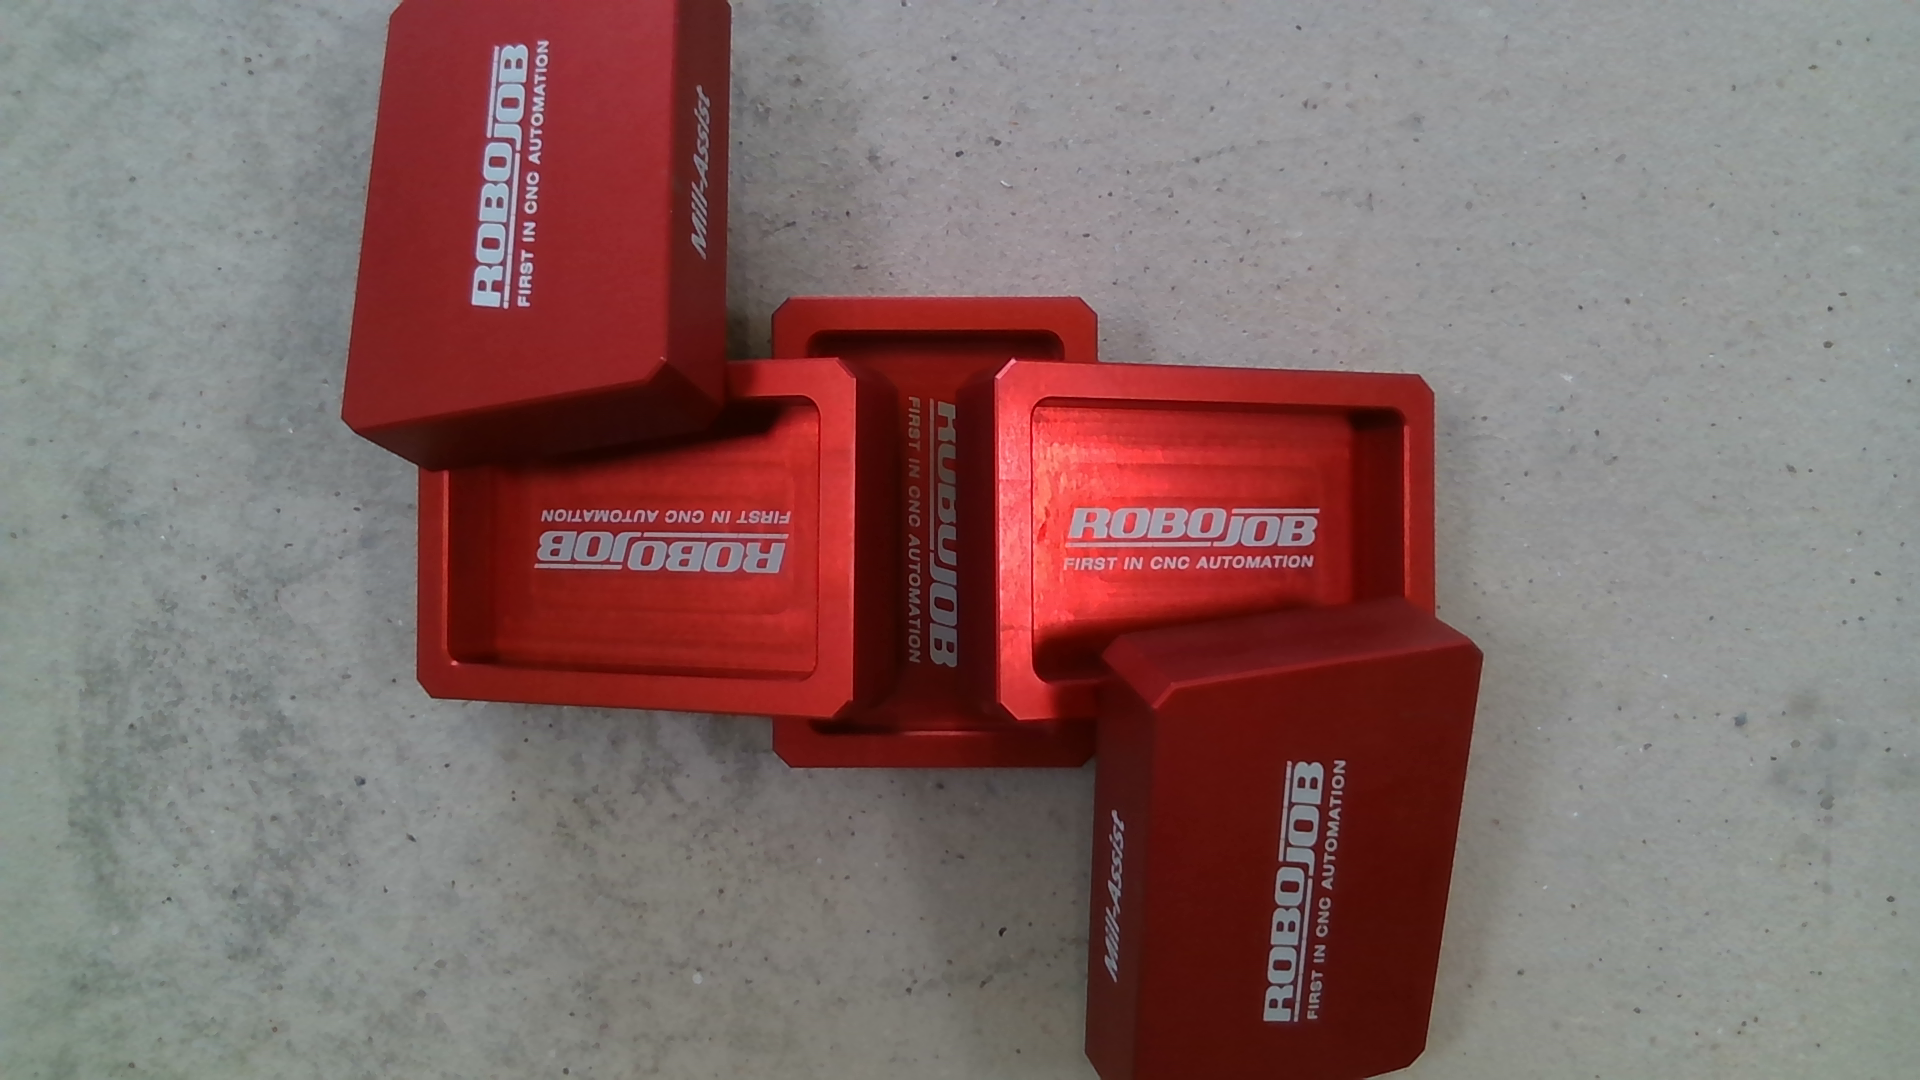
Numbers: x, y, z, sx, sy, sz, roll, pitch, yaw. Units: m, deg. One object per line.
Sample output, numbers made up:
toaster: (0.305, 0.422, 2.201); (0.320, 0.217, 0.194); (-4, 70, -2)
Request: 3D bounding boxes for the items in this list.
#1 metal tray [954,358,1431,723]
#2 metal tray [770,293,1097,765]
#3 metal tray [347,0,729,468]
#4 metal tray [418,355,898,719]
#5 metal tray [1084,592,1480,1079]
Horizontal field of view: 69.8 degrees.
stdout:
metal tray: (0.065, 0.000, 0.373); (0.130, 0.030, 0.090); (-1, 90, -20)
metal tray: (-0.007, -0.003, 0.393); (0.090, 0.030, 0.130); (0, 90, 0)
metal tray: (-0.109, -0.090, 0.363); (0.090, 0.030, 0.130); (-8, 72, 16)
metal tray: (-0.083, -0.001, 0.373); (0.130, 0.030, 0.090); (1, 90, 19)
metal tray: (0.082, 0.084, 0.361); (0.090, 0.030, 0.130); (-7, 112, -18)
